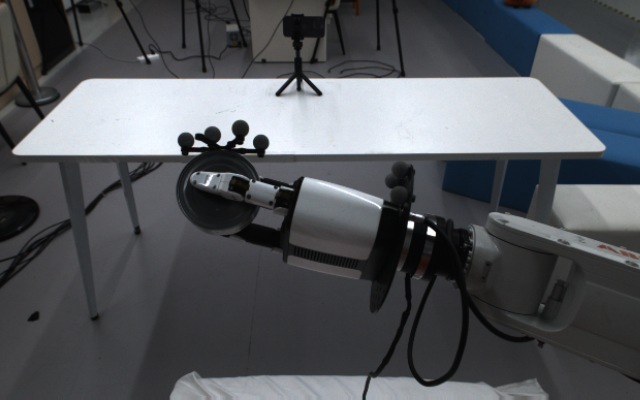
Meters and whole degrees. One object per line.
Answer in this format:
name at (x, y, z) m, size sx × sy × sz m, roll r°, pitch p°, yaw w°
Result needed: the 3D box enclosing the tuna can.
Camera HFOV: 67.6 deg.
tuna can at (-0.101, -0.002, 0.503) m, size 0.085 × 0.034 × 0.085 m, roll 1°, pitch 74°, yaw -5°
